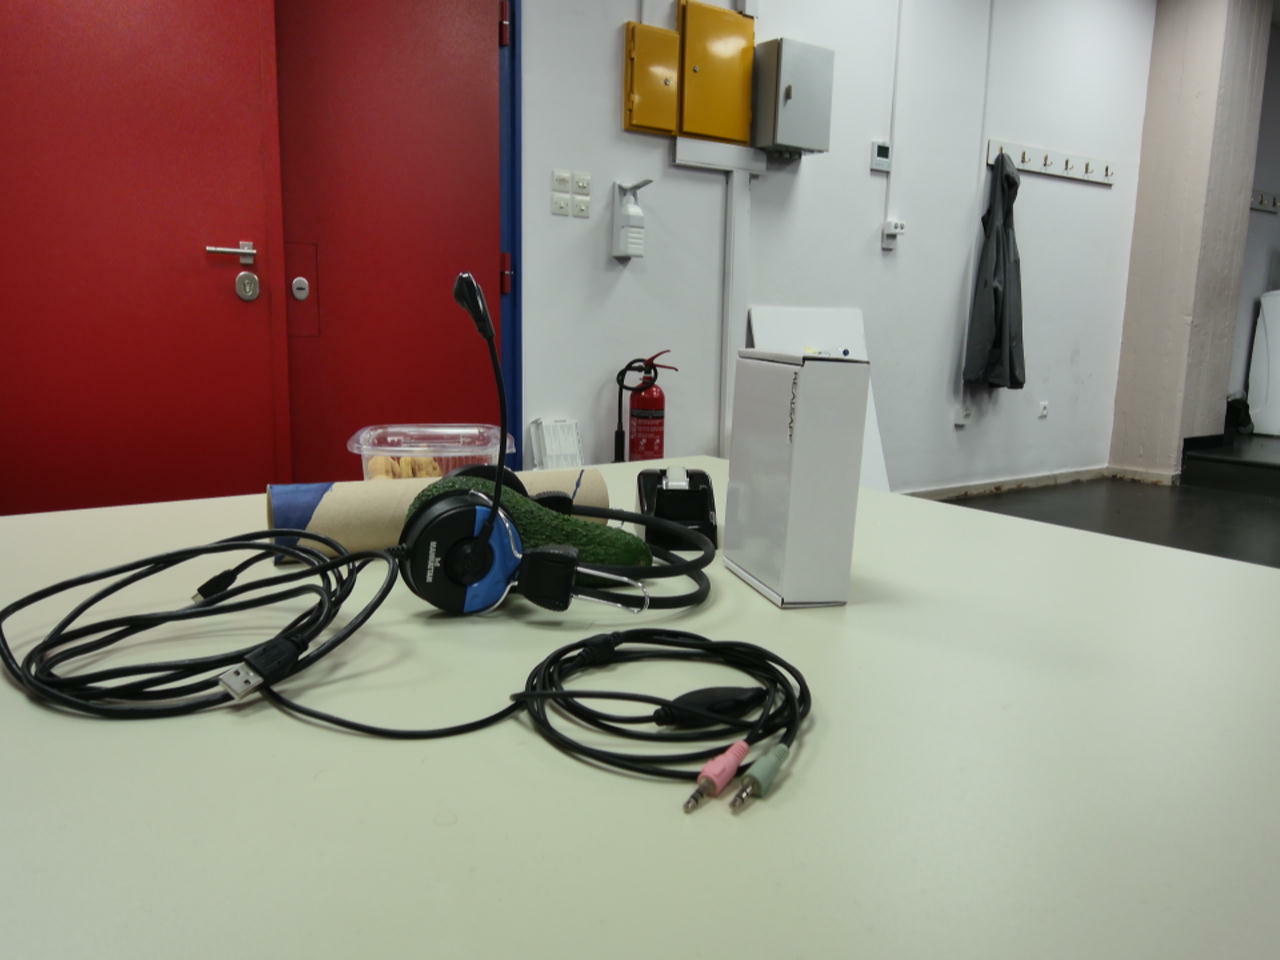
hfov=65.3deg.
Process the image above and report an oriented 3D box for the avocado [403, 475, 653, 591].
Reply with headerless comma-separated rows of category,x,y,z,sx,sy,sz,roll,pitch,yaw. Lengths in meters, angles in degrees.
avocado,-0.065,0.029,0.580,0.141,0.067,0.063,-3,8,-21
